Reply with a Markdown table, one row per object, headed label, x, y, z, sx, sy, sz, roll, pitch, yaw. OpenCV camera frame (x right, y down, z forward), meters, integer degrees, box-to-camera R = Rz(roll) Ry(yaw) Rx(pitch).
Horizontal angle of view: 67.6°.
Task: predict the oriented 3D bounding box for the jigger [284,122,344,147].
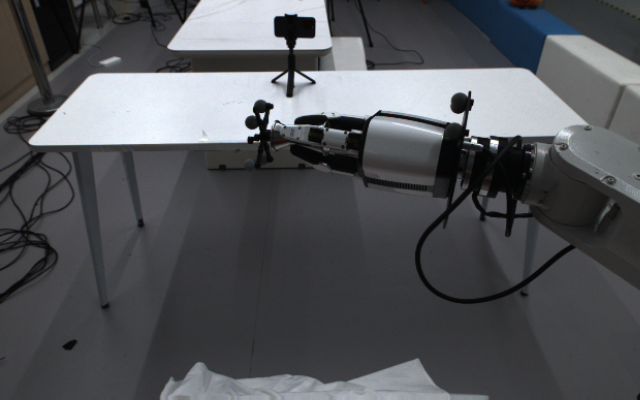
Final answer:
| label | x | y | z | sx | sy | sz | roll | pitch | yaw |
| --- | --- | --- | --- | --- | --- | --- | --- | --- | --- |
| jigger | -0.017 | -0.081 | 0.605 | 0.071 | 0.043 | 0.043 | 5 | 34 | 15 |
